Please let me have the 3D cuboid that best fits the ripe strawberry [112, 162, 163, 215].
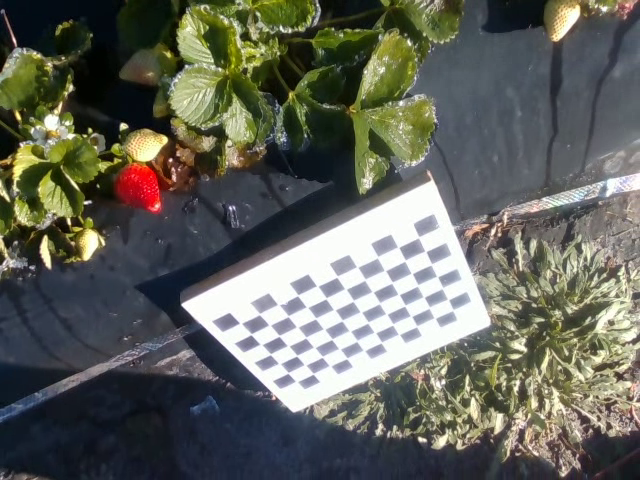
[{"bbox_3d":[-0.145,-0.038,0.515,0.042,0.040,0.053,-7,46,-50],"label":"ripe strawberry"}]
